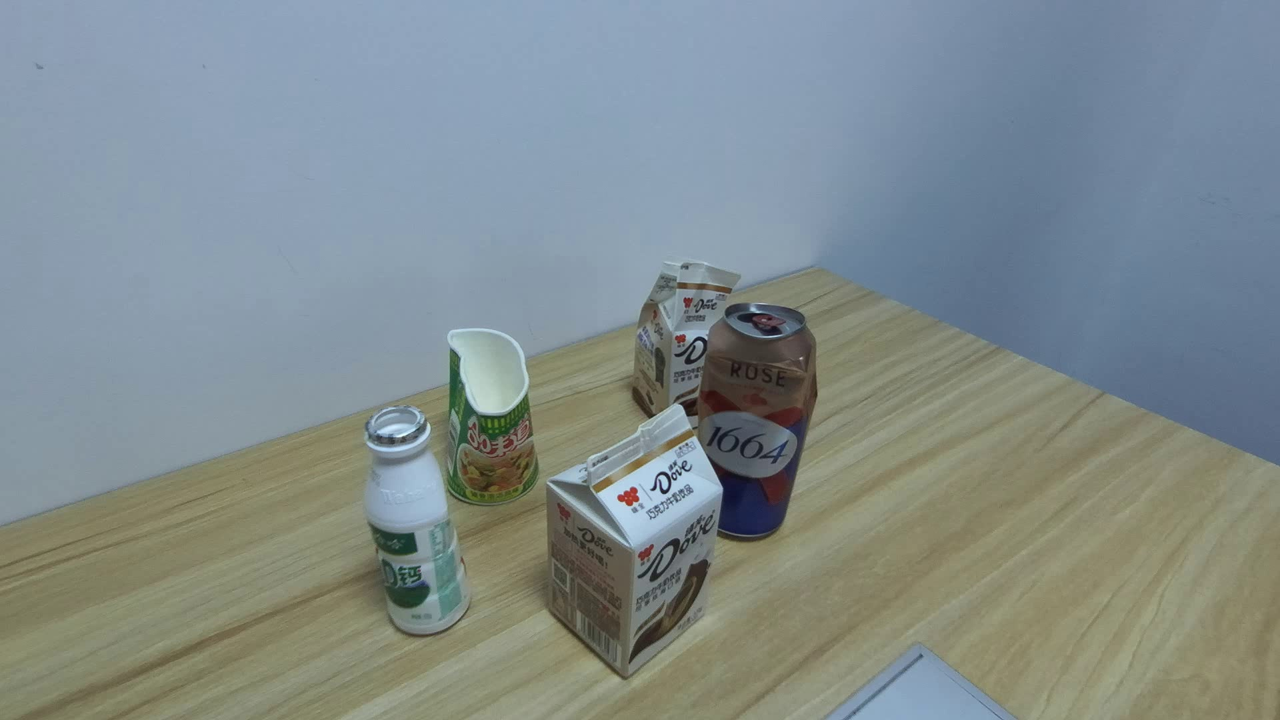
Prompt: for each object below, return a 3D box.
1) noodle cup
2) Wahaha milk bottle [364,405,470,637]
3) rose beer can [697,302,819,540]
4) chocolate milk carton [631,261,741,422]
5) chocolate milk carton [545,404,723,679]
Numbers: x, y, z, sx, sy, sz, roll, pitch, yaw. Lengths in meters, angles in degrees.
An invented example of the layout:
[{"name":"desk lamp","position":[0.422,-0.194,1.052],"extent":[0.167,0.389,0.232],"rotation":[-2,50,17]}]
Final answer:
[{"name":"noodle cup","position":[-0.114,0.048,0.533],"extent":[0.070,0.111,0.115],"rotation":[0,31,-2]},{"name":"Wahaha milk bottle","position":[-0.131,0.095,0.416],"extent":[0.056,0.148,0.056],"rotation":[1,29,0]},{"name":"rose beer can","position":[0.079,0.043,0.492],"extent":[0.075,0.167,0.065],"rotation":[16,32,28]},{"name":"chocolate milk carton","position":[0.043,-0.023,0.614],"extent":[0.076,0.156,0.073],"rotation":[-14,37,-22]},{"name":"chocolate milk carton","position":[-0.004,0.098,0.415],"extent":[0.076,0.148,0.073],"rotation":[-24,41,-38]}]
